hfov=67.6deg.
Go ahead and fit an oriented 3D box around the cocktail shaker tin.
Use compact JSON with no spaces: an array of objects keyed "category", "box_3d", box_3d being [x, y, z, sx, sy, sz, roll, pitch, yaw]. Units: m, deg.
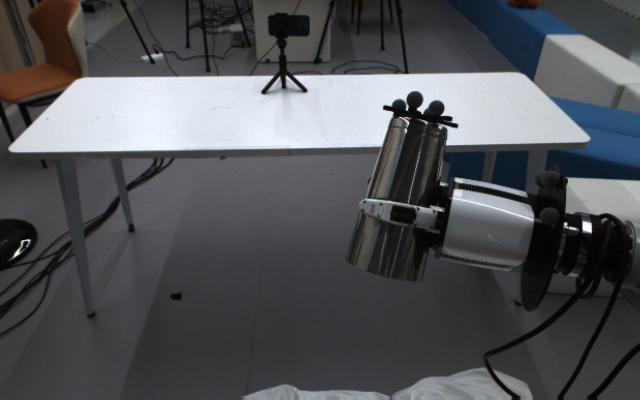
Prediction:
[{"category":"cocktail shaker tin","box_3d":[0.095,-0.003,0.553,0.093,0.170,0.093,13,4,-1]}]
